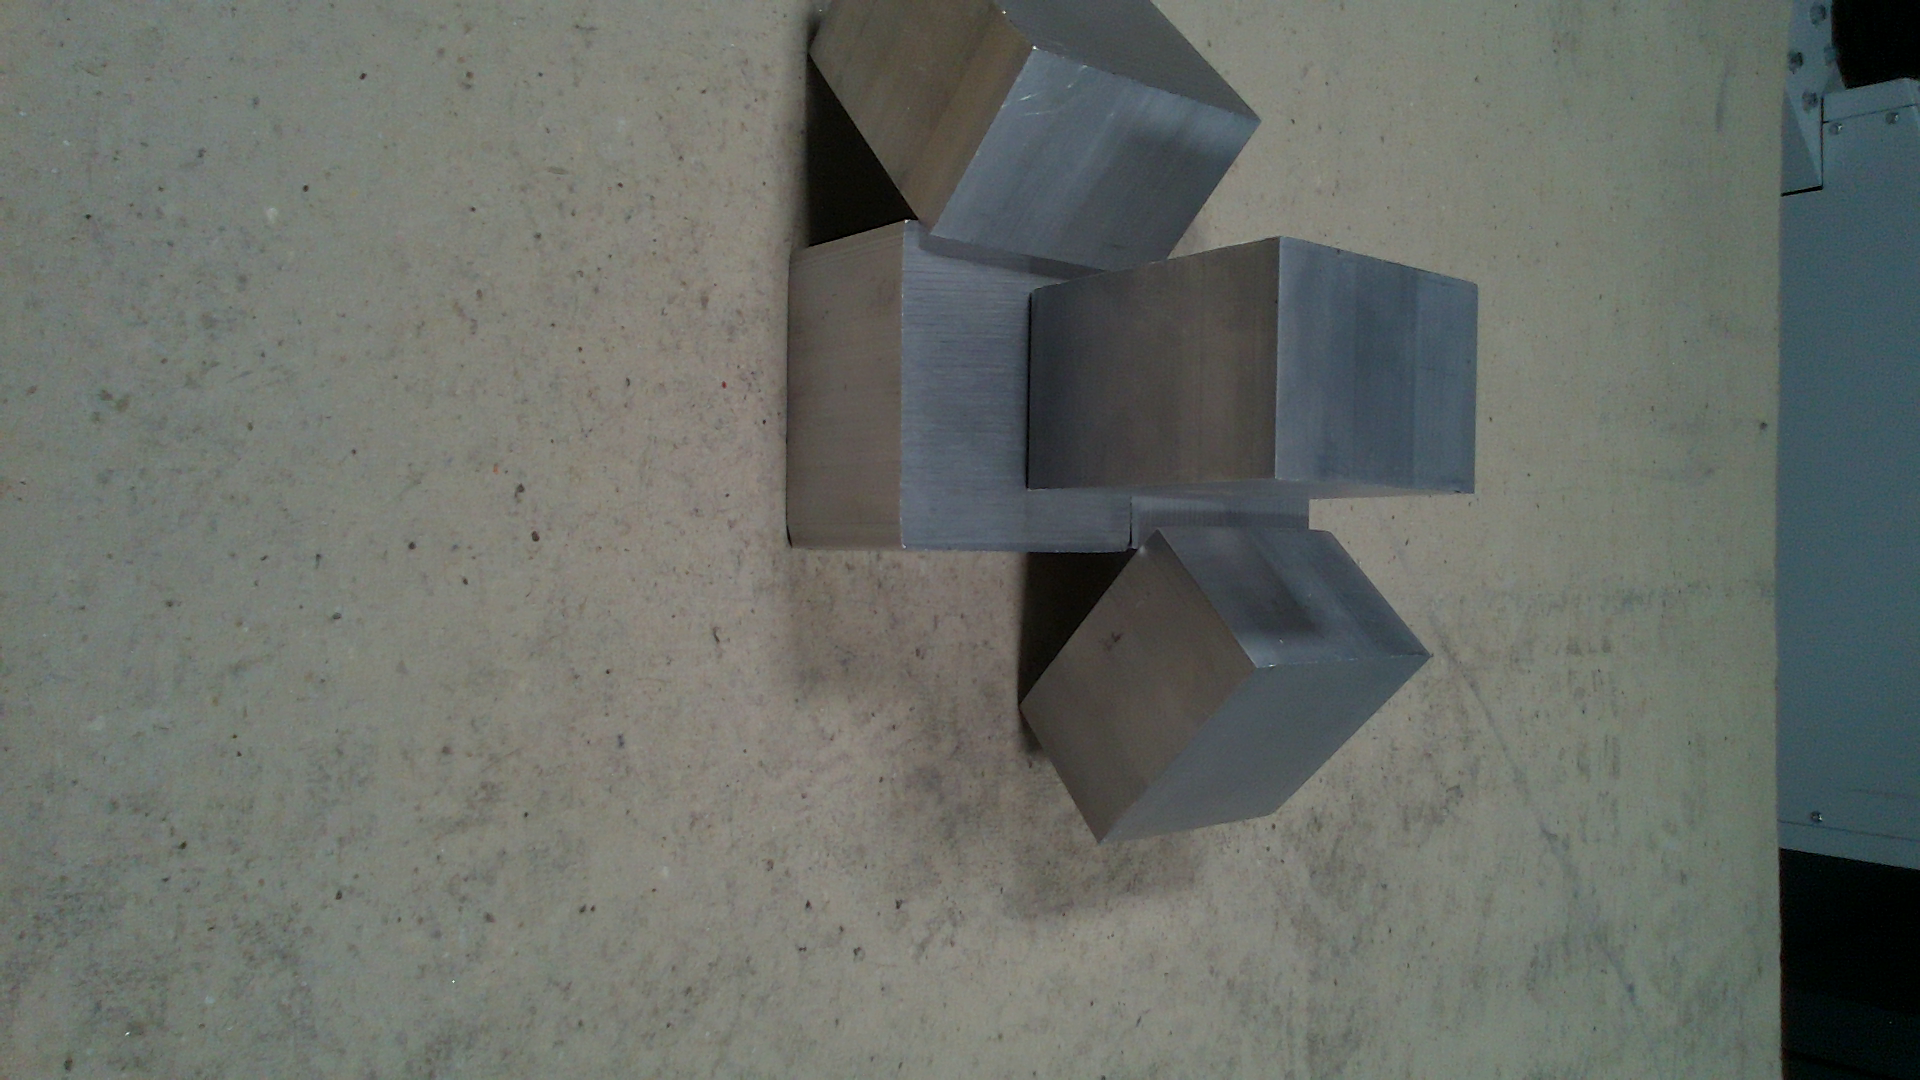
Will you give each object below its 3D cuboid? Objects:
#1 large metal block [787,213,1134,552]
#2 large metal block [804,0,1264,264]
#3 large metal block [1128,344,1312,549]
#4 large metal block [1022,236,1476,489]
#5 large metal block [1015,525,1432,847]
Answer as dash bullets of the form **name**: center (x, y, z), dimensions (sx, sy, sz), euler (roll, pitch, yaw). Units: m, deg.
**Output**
- **large metal block**: center (0.001, -0.037, 0.372), dimensions (0.080, 0.050, 0.080), euler (1, 89, -40)
- **large metal block**: center (0.018, -0.119, 0.361), dimensions (0.080, 0.050, 0.080), euler (1, 46, -39)
- **large metal block**: center (0.064, -0.037, 0.424), dimensions (0.080, 0.050, 0.080), euler (1, 89, -40)
- **large metal block**: center (0.073, -0.039, 0.350), dimensions (0.080, 0.080, 0.050), euler (2, 89, -40)
- **large metal block**: center (0.077, 0.042, 0.409), dimensions (0.080, 0.080, 0.050), euler (1, 46, -40)
